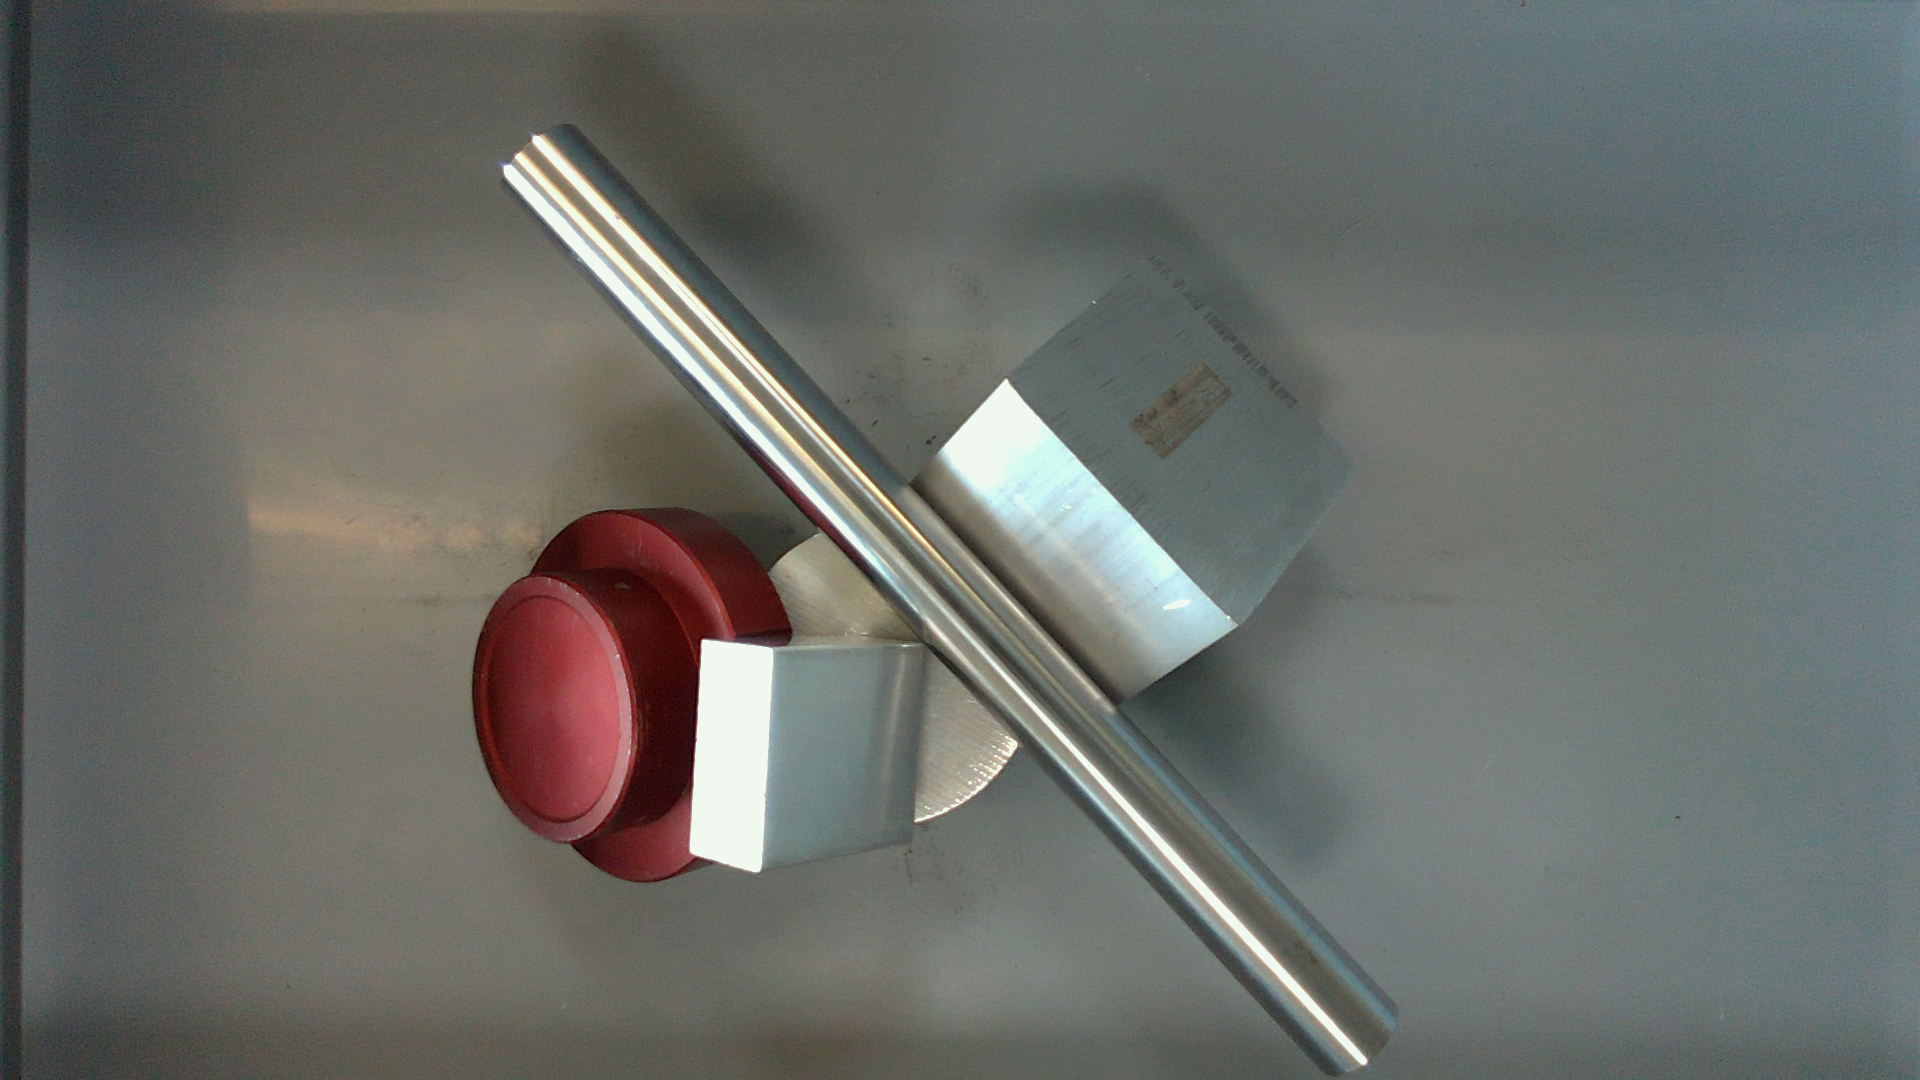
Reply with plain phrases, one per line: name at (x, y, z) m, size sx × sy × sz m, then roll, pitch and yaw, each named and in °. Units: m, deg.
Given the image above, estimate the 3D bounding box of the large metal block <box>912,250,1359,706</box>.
large metal block at (0.046, -0.017, 0.360) m, size 0.080 × 0.050 × 0.080 m, roll 46°, pitch 47°, yaw 0°

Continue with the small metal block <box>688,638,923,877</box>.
small metal block at (-0.036, 0.049, 0.330) m, size 0.025 × 0.050 × 0.050 m, roll 3°, pitch 91°, yaw 40°

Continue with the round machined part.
round machined part at (-0.090, 0.041, 0.360) m, size 0.098 × 0.042 × 0.098 m, roll 3°, pitch 96°, yaw 38°

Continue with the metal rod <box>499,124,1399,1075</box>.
metal rod at (-0.002, 0.015, 0.344) m, size 0.025 × 0.025 × 0.300 m, roll -43°, pitch 90°, yaw 0°

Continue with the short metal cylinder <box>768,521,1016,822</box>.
short metal cylinder at (-0.020, 0.034, 0.381) m, size 0.080 × 0.050 × 0.080 m, roll 0°, pitch 90°, yaw 0°
